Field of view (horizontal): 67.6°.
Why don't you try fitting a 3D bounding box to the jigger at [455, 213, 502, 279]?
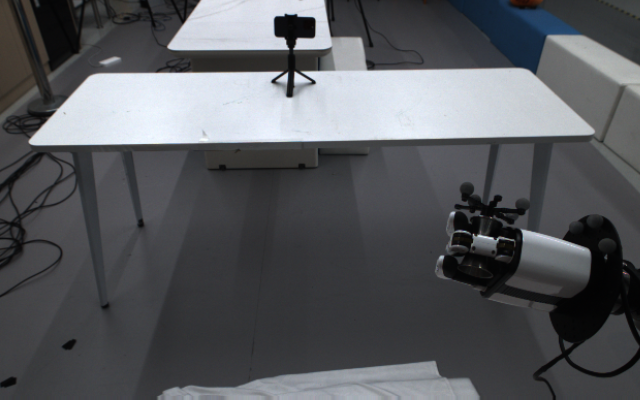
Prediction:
[{"bbox_3d":[0.202,0.057,0.607,0.043,0.043,0.071,13,73,15],"label":"jigger"}]
